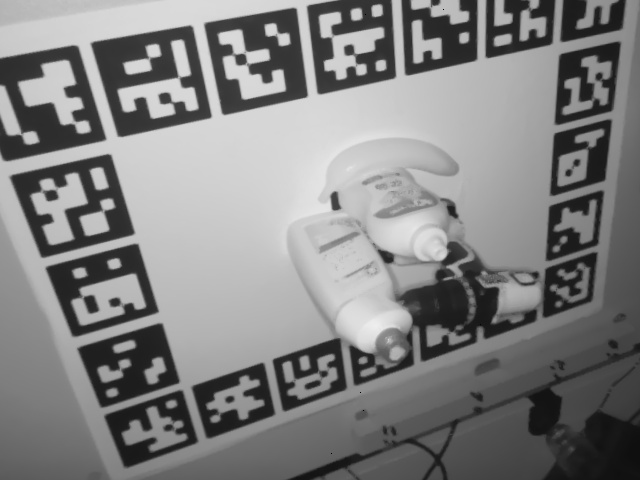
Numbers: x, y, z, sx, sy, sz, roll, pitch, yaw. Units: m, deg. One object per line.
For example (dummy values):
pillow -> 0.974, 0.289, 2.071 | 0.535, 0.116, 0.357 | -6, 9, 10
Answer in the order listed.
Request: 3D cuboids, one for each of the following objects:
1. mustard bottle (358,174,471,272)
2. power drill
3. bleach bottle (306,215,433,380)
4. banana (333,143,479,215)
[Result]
mustard bottle -> 0.117, -0.016, 0.781 | 0.097, 0.191, 0.058 | -14, 119, -12
power drill -> 0.170, 0.045, 0.806 | 0.186, 0.187, 0.057 | -3, 117, -17
bleach bottle -> 0.064, 0.063, 0.770 | 0.103, 0.250, 0.067 | -12, 124, -14
banana -> 0.107, -0.082, 0.845 | 0.199, 0.039, 0.074 | -11, 116, -18
